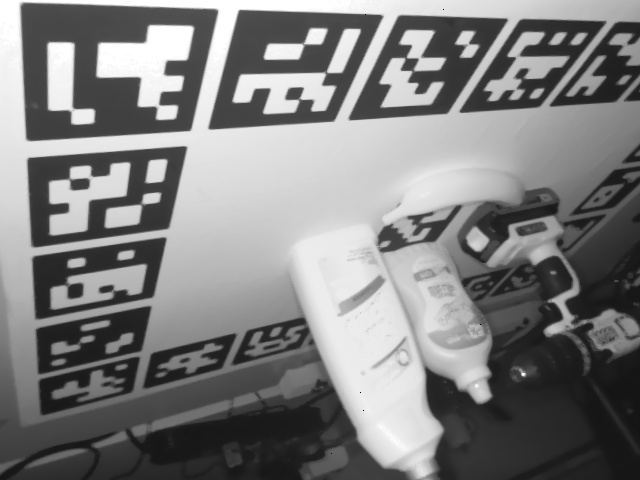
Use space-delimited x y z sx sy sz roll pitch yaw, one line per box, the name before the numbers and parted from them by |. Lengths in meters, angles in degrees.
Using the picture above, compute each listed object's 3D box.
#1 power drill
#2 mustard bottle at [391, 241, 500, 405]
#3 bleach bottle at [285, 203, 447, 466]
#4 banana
power drill | 0.257 0.058 0.754 0.187 0.187 0.056 -5 150 -25
mustard bottle | 0.141 0.090 0.755 0.097 0.191 0.057 -4 143 -28
bleach bottle | 0.053 0.082 0.640 0.104 0.251 0.067 -11 145 -22
banana | 0.157 -0.056 0.693 0.200 0.039 0.073 -5 139 -33
